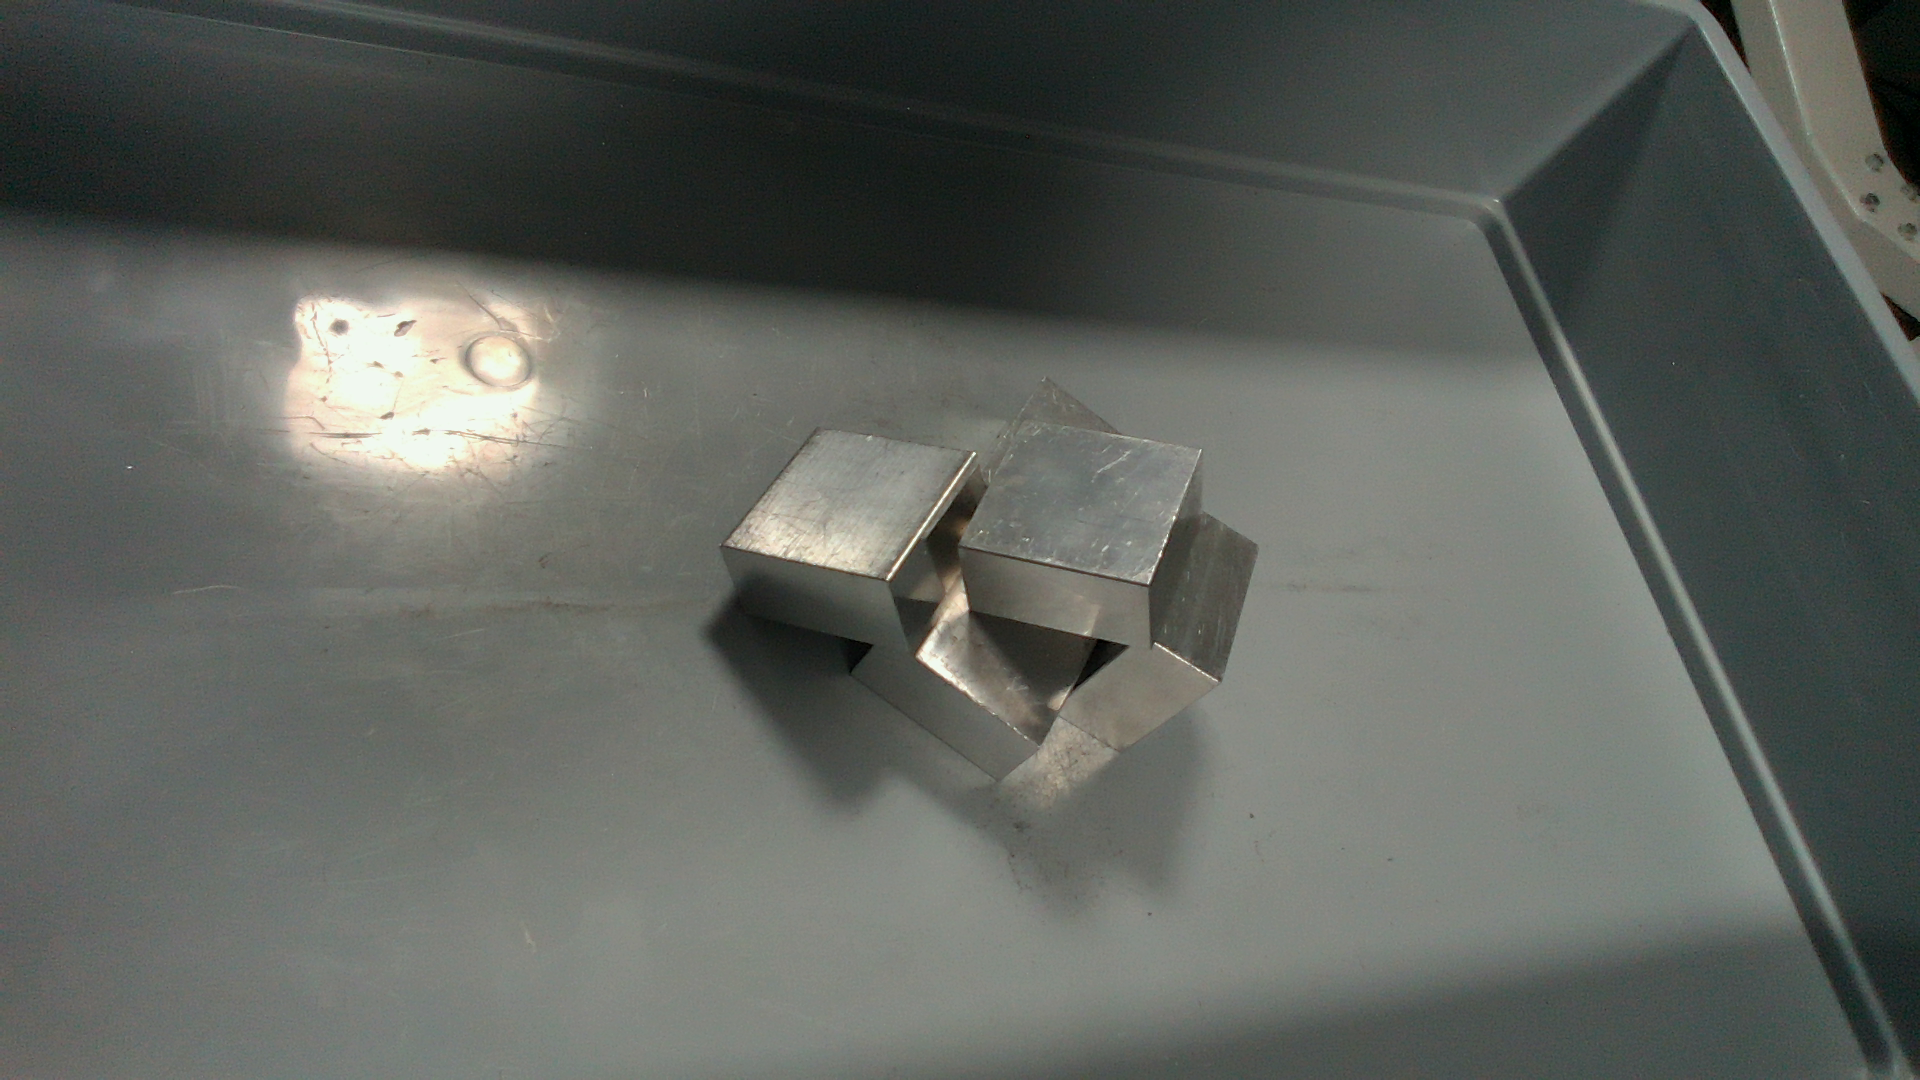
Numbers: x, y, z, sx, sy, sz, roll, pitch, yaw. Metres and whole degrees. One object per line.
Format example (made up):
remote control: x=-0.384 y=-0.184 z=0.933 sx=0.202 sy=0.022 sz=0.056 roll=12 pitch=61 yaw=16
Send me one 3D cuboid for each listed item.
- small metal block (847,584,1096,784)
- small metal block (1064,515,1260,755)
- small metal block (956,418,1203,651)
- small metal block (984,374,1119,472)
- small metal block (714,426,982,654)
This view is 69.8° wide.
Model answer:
small metal block: x=0.006 y=0.029 z=0.374 sx=0.050 sy=0.025 sz=0.050 roll=36 pitch=51 yaw=-4
small metal block: x=0.054 y=0.025 z=0.386 sx=0.025 sy=0.050 sz=0.050 roll=31 pitch=52 yaw=-8
small metal block: x=0.033 y=-0.003 z=0.360 sx=0.050 sy=0.025 sz=0.050 roll=11 pitch=49 yaw=20
small metal block: x=0.029 y=-0.013 z=0.412 sx=0.050 sy=0.025 sz=0.050 roll=36 pitch=51 yaw=-4
small metal block: x=-0.027 y=-0.001 z=0.359 sx=0.050 sy=0.025 sz=0.050 roll=11 pitch=46 yaw=26
